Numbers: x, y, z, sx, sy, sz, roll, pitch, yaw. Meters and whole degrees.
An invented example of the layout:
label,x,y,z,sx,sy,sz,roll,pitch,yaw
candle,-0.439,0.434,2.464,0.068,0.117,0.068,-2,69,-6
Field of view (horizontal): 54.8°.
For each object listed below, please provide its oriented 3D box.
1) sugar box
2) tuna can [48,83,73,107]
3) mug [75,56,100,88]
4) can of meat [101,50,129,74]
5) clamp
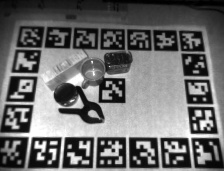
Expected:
label,x,y,z,sx,sy,sz,roll,pitch,yaw
sugar box,-0.185,-0.055,0.798,0.177,0.093,0.045,-36,74,-14
tuna can,-0.188,0.035,0.792,0.086,0.034,0.085,1,73,-2
mug,-0.092,-0.041,0.794,0.093,0.081,0.117,25,74,6
can of meat,0.008,-0.086,0.822,0.102,0.084,0.057,-7,70,-6
clamp,-0.111,0.089,0.783,0.165,0.036,0.122,35,69,4
